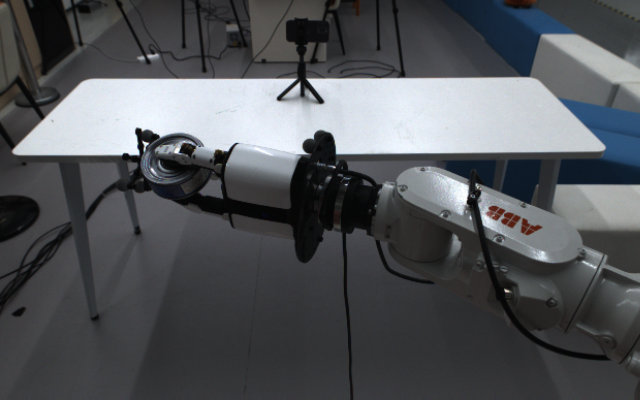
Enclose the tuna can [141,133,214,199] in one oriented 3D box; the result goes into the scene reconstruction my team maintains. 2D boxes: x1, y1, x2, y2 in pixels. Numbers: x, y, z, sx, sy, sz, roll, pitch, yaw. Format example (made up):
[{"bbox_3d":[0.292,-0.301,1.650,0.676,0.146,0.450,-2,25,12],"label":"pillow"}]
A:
[{"bbox_3d":[-0.183,-0.042,0.624,0.085,0.034,0.085,-2,59,3],"label":"tuna can"}]
